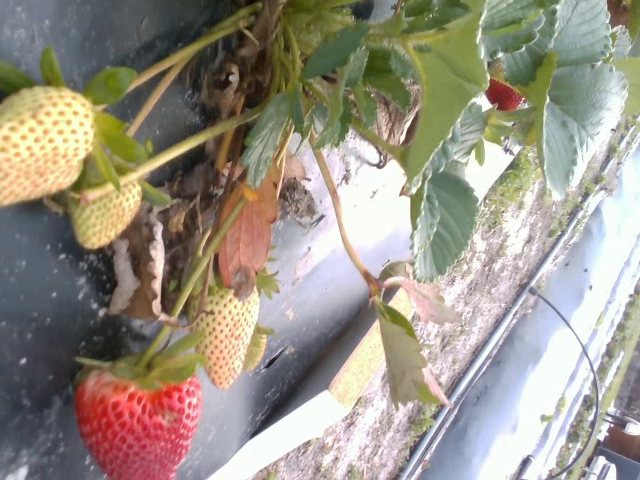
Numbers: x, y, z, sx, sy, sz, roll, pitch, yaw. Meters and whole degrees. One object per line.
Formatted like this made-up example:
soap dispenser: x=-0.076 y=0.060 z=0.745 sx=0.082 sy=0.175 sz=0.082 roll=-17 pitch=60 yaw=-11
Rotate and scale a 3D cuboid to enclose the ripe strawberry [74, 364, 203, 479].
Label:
ripe strawberry: x=-0.060 y=0.066 z=0.203 sx=0.033 sy=0.059 sz=0.050 roll=9 pitch=25 yaw=32
